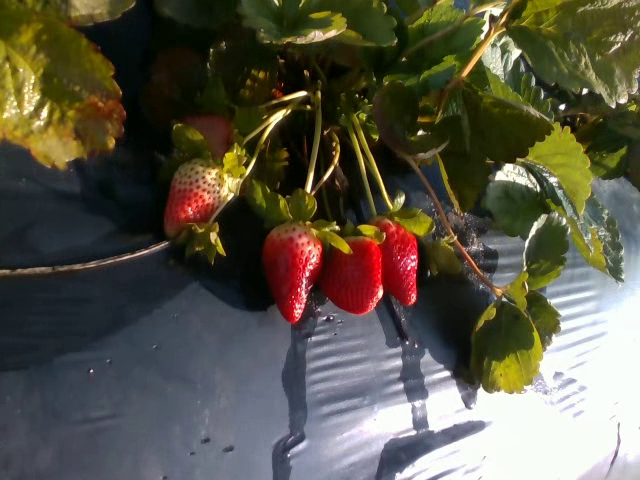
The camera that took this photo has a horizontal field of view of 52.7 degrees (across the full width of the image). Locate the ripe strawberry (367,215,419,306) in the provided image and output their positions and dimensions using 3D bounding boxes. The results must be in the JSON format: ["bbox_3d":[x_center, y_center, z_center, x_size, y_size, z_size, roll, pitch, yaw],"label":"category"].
[{"bbox_3d":[0.038,0.016,0.304,0.035,0.041,0.034,-3,-36,-35],"label":"ripe strawberry"}]

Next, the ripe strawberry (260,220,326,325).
[{"bbox_3d":[-0.010,0.014,0.273,0.031,0.046,0.023,2,-3,-36],"label":"ripe strawberry"}]

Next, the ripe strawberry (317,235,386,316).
[{"bbox_3d":[0.017,0.016,0.284,0.030,0.037,0.039,15,30,-37],"label":"ripe strawberry"}]
